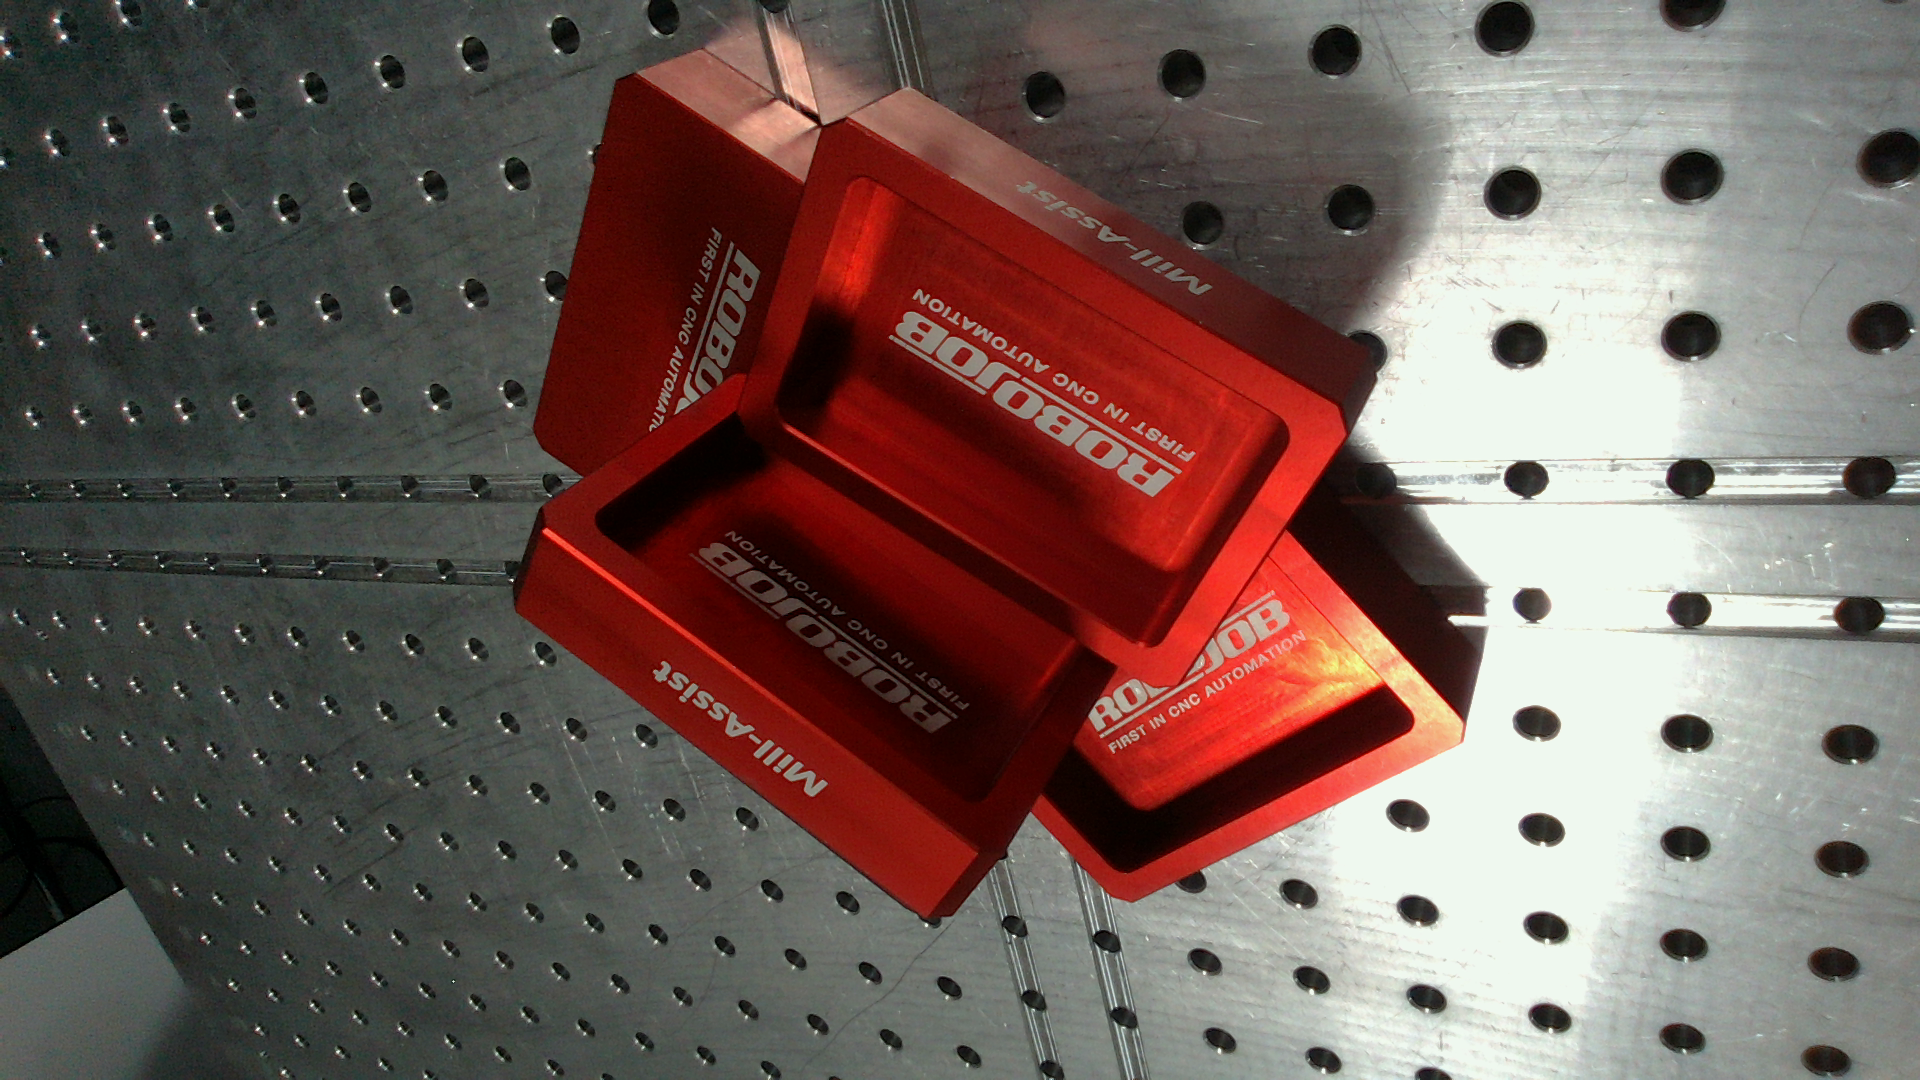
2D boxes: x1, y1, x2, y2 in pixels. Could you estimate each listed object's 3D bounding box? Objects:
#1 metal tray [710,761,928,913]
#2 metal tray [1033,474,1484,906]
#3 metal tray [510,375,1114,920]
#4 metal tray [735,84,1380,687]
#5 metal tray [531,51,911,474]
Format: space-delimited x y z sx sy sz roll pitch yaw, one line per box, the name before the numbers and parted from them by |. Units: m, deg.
metal tray | -0.048 0.062 0.433 0.130 0.030 0.090 36 155 4
metal tray | 0.063 0.041 0.382 0.090 0.030 0.130 47 129 -5
metal tray | -0.032 0.021 0.344 0.130 0.090 0.030 35 129 5
metal tray | 0.018 -0.034 0.323 0.130 0.030 0.090 32 129 8
metal tray | -0.067 -0.057 0.392 0.090 0.030 0.130 33 129 6
